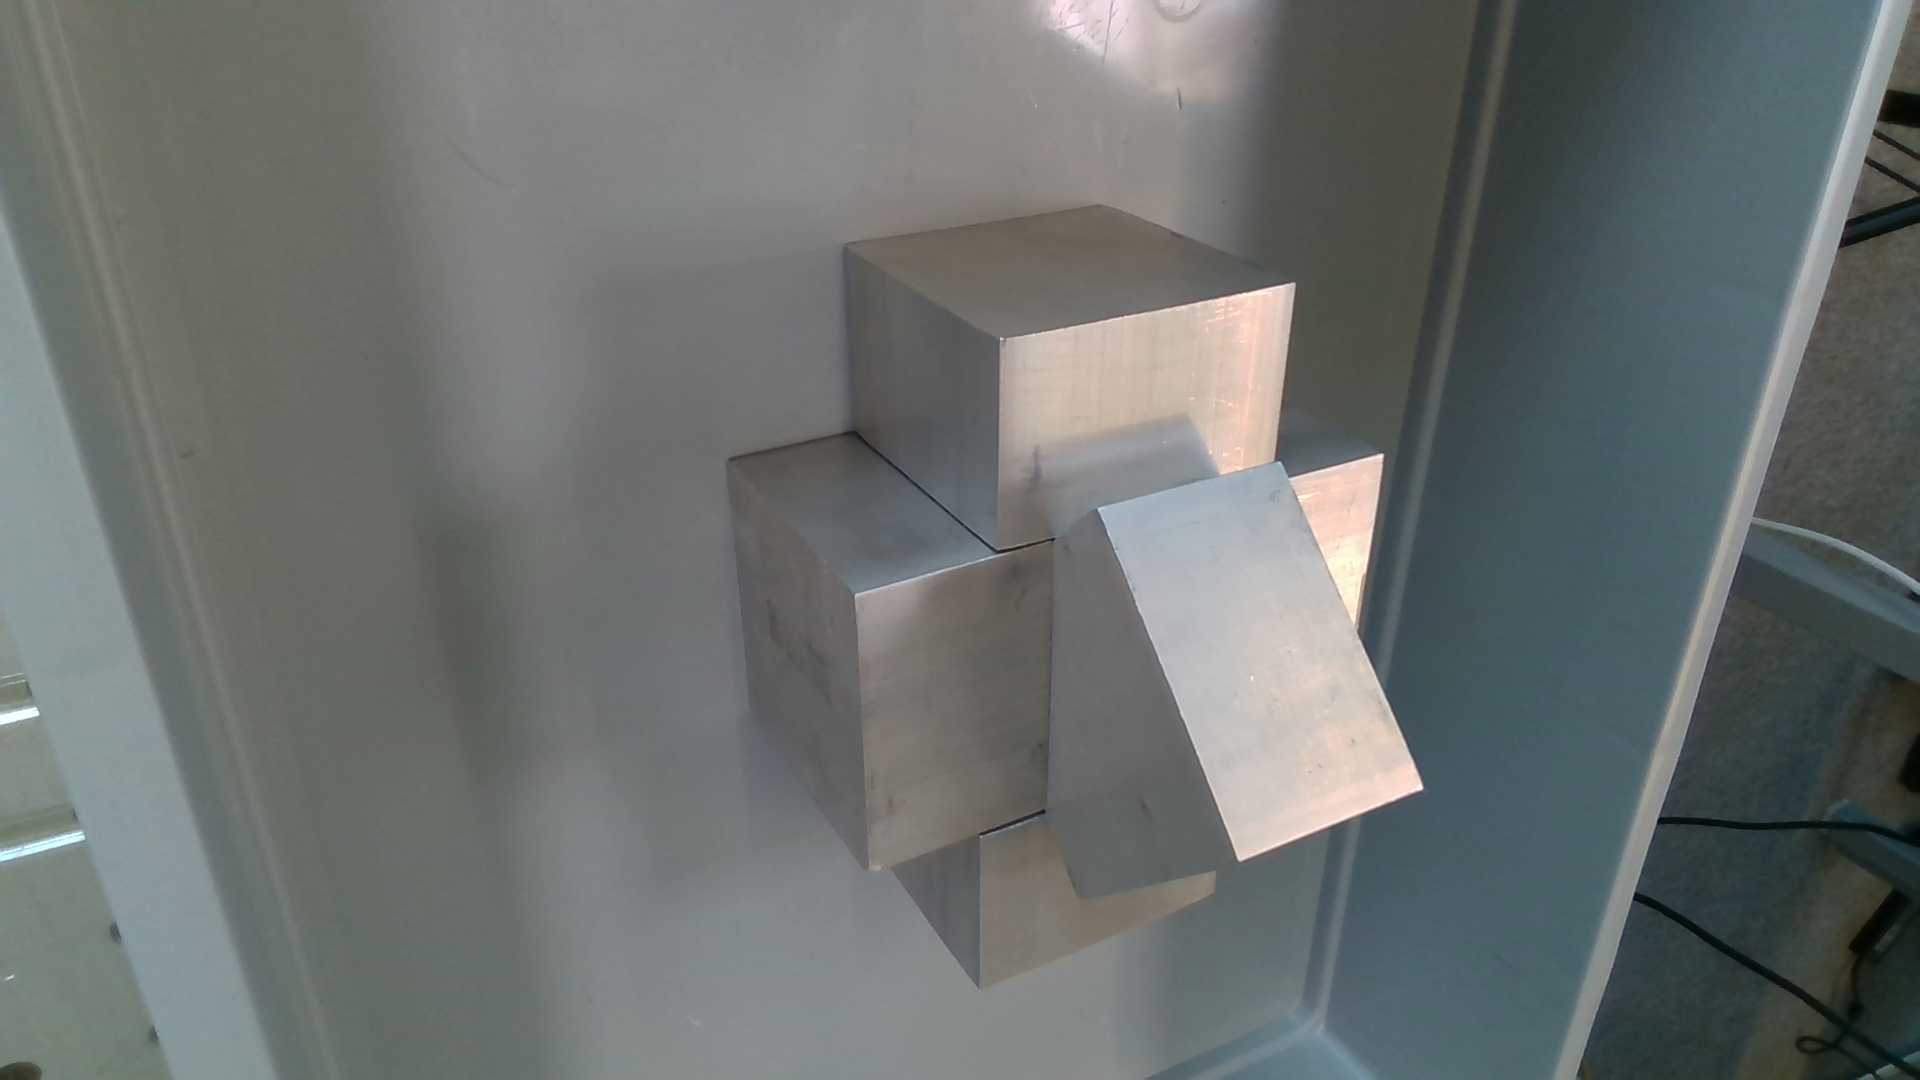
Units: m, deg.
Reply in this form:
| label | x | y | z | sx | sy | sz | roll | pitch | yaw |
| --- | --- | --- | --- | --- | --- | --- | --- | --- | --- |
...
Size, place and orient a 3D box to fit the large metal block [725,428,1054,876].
| label | x | y | z | sx | sy | sz | roll | pitch | yaw |
| --- | --- | --- | --- | --- | --- | --- | --- | --- | --- |
| large metal block | -0.020 | 0.024 | 0.354 | 0.050 | 0.080 | 0.080 | -15 | 122 | -25 |

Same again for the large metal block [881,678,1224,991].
| label | x | y | z | sx | sy | sz | roll | pitch | yaw |
| --- | --- | --- | --- | --- | --- | --- | --- | --- | --- |
| large metal block | 0.022 | 0.073 | 0.404 | 0.080 | 0.080 | 0.050 | -14 | 122 | -25 |

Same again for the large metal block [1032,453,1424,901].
| label | x | y | z | sx | sy | sz | roll | pitch | yaw |
| --- | --- | --- | --- | --- | --- | --- | --- | --- | --- |
| large metal block | 0.052 | 0.036 | 0.332 | 0.050 | 0.080 | 0.080 | -15 | 167 | -25 |

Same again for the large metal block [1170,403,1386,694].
| label | x | y | z | sx | sy | sz | roll | pitch | yaw |
| --- | --- | --- | --- | --- | --- | --- | --- | --- | --- |
| large metal block | 0.069 | 0.001 | 0.397 | 0.050 | 0.080 | 0.080 | -15 | 122 | -25 |

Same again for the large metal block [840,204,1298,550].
| label | x | y | z | sx | sy | sz | roll | pitch | yaw |
| --- | --- | --- | --- | --- | --- | --- | --- | --- | --- |
| large metal block | 0.024 | -0.045 | 0.344 | 0.080 | 0.080 | 0.050 | -14 | 121 | -25 |
